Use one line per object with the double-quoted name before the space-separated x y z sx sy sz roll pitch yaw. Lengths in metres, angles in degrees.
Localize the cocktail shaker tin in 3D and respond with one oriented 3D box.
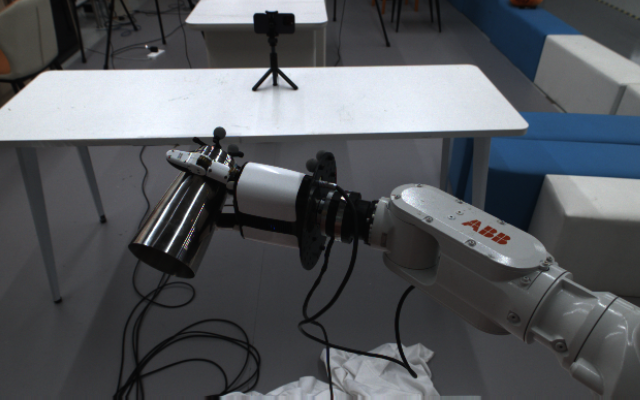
"cocktail shaker tin" -0.177 0.008 0.661 0.093 0.093 0.170 13 59 16
